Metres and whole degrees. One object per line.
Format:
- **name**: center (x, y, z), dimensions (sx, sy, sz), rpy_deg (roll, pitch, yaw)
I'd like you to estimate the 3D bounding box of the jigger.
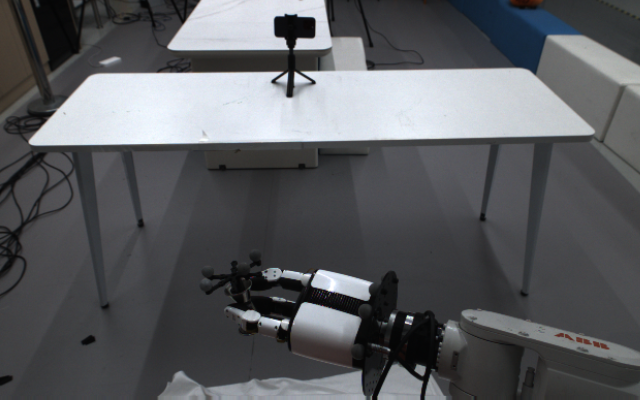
- **jigger**: center (-0.103, 0.150, 0.682), dimensions (0.043, 0.071, 0.043), rpy_deg (-14, 22, 6)
